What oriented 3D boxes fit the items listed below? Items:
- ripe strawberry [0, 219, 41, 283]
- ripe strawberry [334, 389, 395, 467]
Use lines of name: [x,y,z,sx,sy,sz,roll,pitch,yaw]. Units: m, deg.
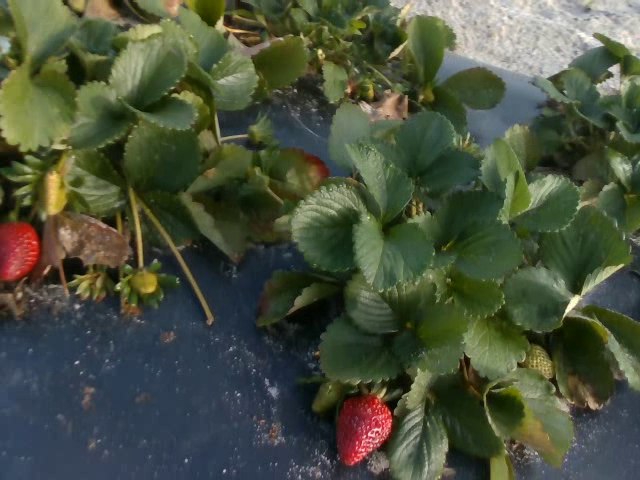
ripe strawberry: [-0.141,0.008,0.303,0.031,0.026,0.030,-11,45,-12]
ripe strawberry: [0.016,0.083,0.287,0.029,0.036,0.021,21,-35,11]
